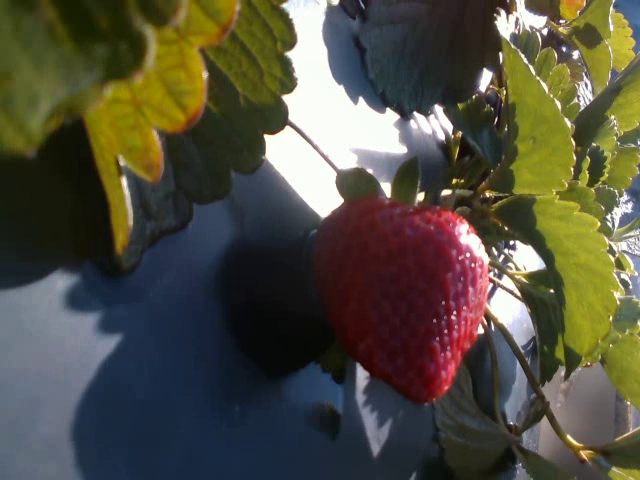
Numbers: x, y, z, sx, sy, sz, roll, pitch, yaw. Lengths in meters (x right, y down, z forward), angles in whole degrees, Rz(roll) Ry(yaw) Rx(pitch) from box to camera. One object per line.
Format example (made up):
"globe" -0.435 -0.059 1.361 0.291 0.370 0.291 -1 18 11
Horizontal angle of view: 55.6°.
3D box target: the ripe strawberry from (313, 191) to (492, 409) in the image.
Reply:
"ripe strawberry" 0.016 0.011 0.126 0.045 0.041 0.055 7 44 -3
